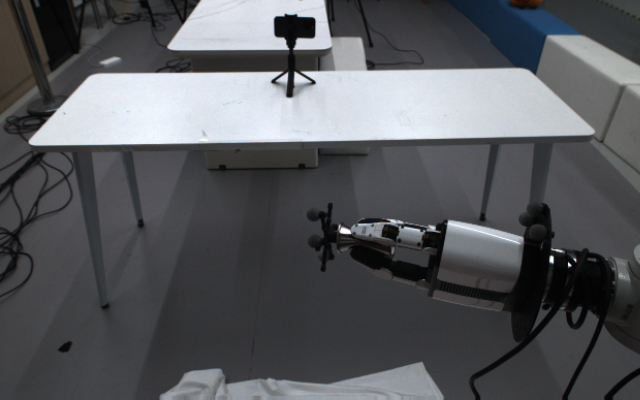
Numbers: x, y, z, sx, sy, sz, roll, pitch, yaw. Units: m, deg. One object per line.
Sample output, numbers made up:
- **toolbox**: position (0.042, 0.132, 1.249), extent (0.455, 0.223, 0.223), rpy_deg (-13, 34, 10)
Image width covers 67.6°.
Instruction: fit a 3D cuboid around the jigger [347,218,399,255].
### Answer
- **jigger**: position (0.065, 0.045, 0.605), extent (0.071, 0.043, 0.043), rpy_deg (2, 34, 15)
